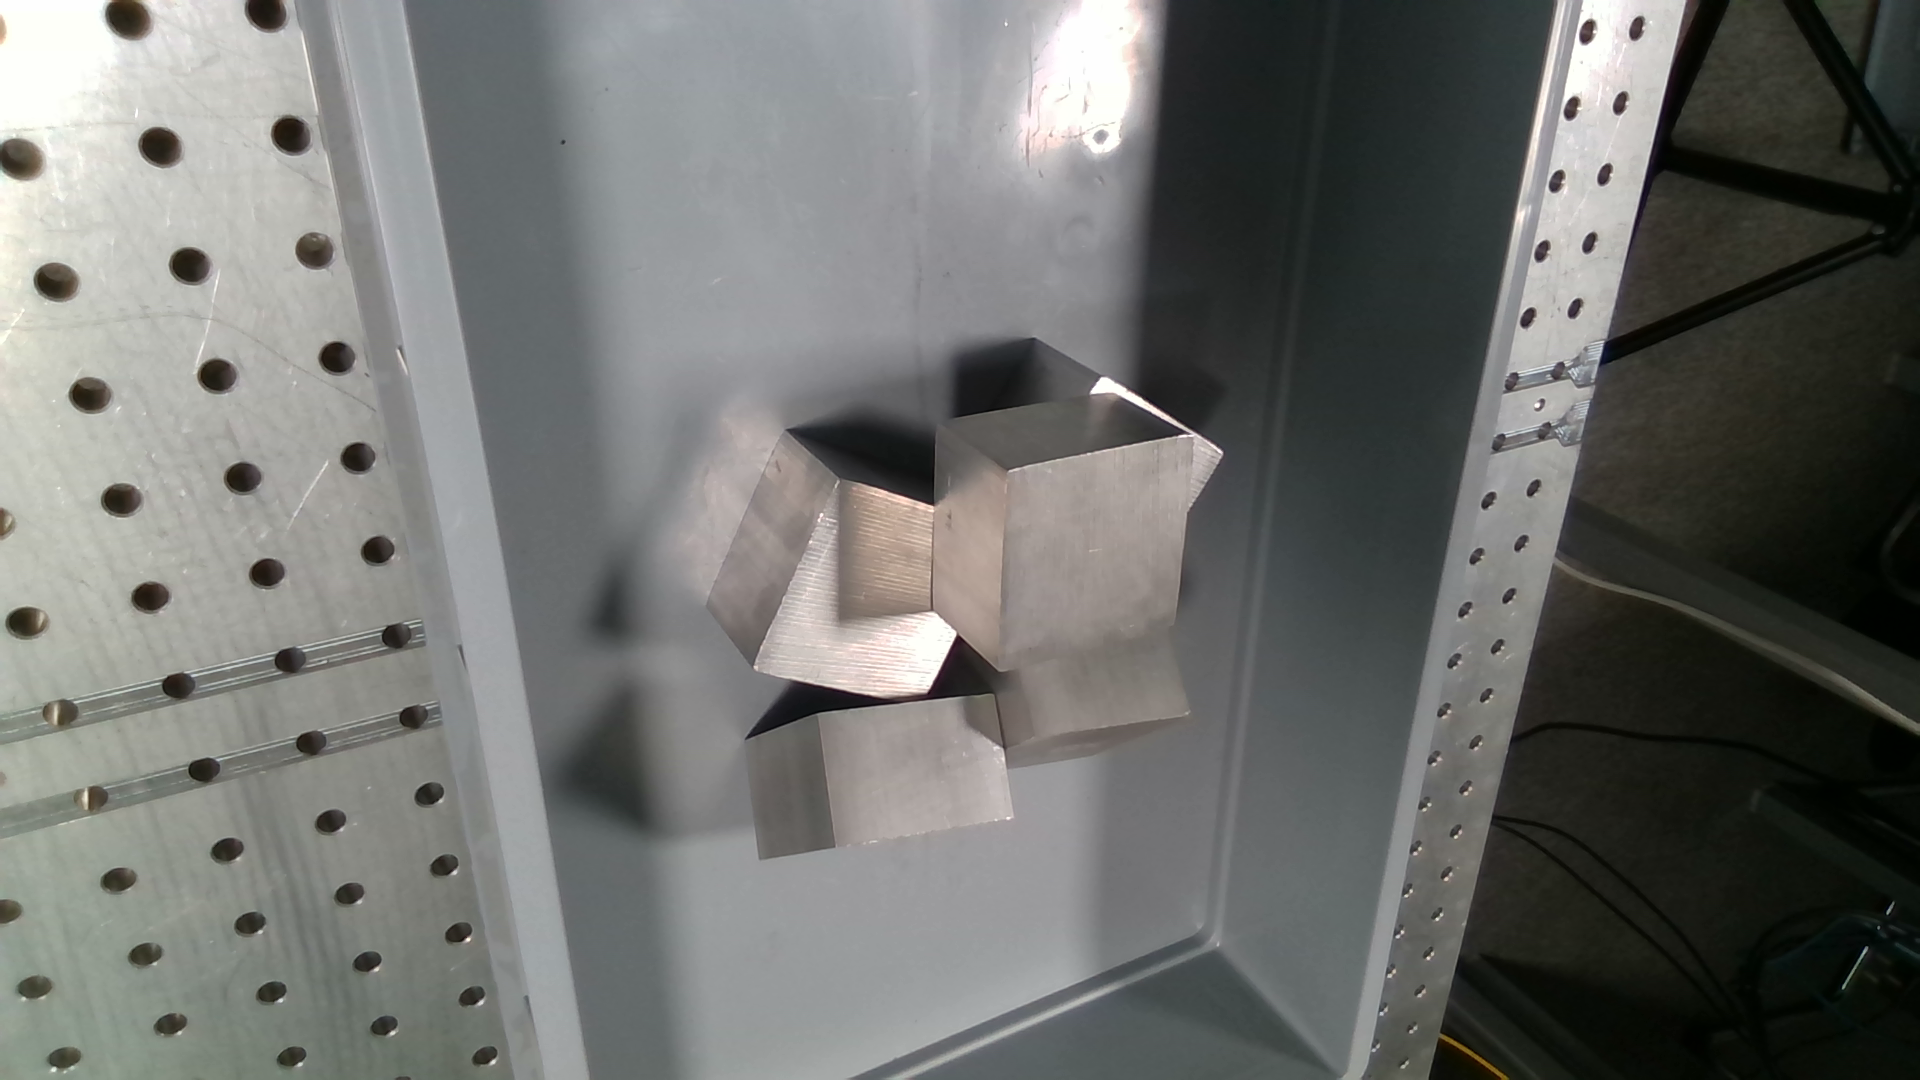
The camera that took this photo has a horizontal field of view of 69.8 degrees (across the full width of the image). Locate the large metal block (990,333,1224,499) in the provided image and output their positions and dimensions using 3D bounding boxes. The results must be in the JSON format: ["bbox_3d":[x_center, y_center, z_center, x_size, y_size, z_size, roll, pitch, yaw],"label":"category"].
[{"bbox_3d":[0.050,-0.028,0.580,0.080,0.050,0.080,25,100,-38],"label":"large metal block"}]

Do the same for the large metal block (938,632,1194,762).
[{"bbox_3d":[0.040,0.065,0.595,0.080,0.050,0.080,-3,161,-30],"label":"large metal block"}]

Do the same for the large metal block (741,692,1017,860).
[{"bbox_3d":[-0.035,0.098,0.566,0.080,0.080,0.050,-3,77,-31],"label":"large metal block"}]

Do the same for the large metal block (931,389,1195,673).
[{"bbox_3d":[0.037,-0.006,0.517,0.080,0.050,0.080,-13,120,-27],"label":"large metal block"}]

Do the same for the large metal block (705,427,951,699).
[{"bbox_3d":[-0.041,0.012,0.541,0.080,0.050,0.080,18,105,-37],"label":"large metal block"}]
